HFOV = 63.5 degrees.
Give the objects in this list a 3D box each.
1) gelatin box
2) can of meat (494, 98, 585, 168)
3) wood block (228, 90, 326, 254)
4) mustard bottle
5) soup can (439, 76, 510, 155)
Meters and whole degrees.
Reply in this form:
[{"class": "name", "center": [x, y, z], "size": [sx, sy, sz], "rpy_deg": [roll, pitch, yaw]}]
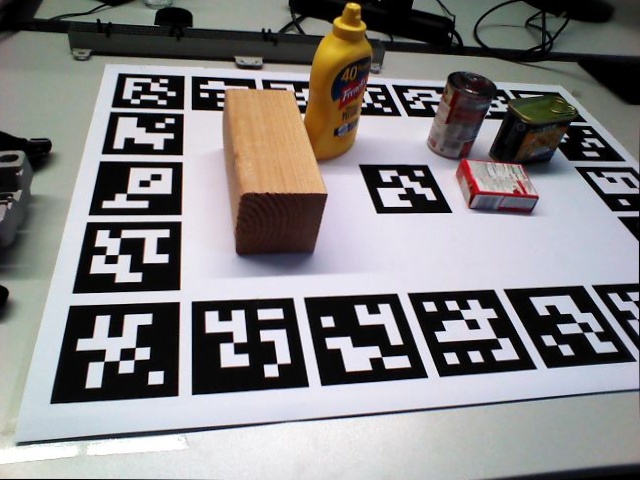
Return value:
[{"class": "gelatin box", "center": [0.246, -0.067, 0.675], "size": [0.089, 0.030, 0.073], "rpy_deg": [5, 47, -2]}, {"class": "can of meat", "center": [0.310, -0.150, 0.739], "size": [0.101, 0.084, 0.057], "rpy_deg": [-10, 49, -23]}, {"class": "wood block", "center": [-0.058, -0.086, 0.598], "size": [0.091, 0.090, 0.205], "rpy_deg": [1, 41, -12]}, {"class": "mustard bottle", "center": [0.029, -0.194, 0.657], "size": [0.096, 0.192, 0.058], "rpy_deg": [-20, 52, -30]}, {"class": "soup can", "center": [0.213, -0.178, 0.723], "size": [0.068, 0.102, 0.067], "rpy_deg": [5, 46, -6]}]
